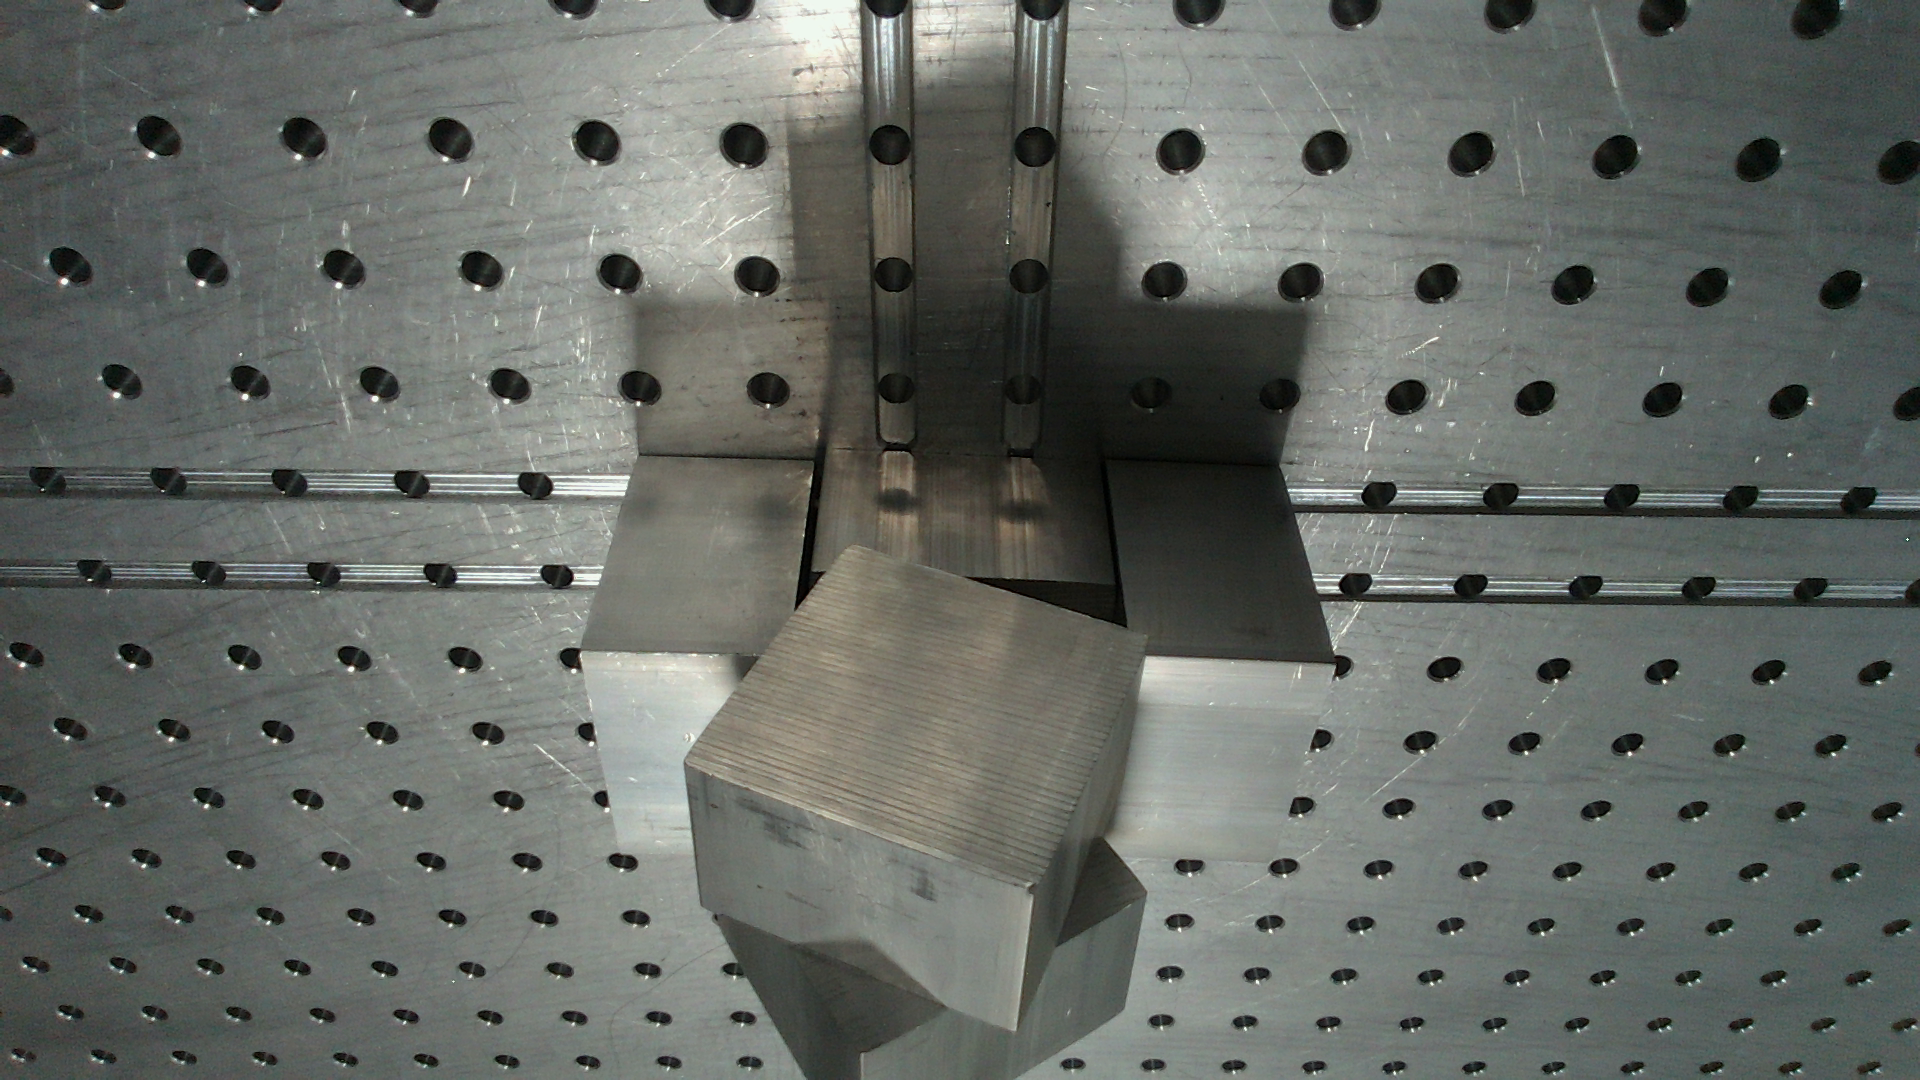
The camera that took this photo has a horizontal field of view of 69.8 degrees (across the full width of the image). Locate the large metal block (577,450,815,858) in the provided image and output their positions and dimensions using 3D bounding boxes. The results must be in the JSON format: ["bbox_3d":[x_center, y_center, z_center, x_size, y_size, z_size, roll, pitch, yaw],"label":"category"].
[{"bbox_3d":[-0.067,0.031,0.384,0.050,0.080,0.080,1,130,-1],"label":"large metal block"}]

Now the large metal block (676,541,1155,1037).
[{"bbox_3d":[-0.008,0.054,0.319,0.080,0.080,0.050,17,131,15],"label":"large metal block"}]

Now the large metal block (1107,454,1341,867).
[{"bbox_3d":[0.064,0.033,0.386,0.050,0.080,0.080,3,130,-2],"label":"large metal block"}]

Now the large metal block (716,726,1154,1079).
[{"bbox_3d":[-0.010,0.094,0.350,0.080,0.080,0.050,-21,135,-26],"label":"large metal block"}]

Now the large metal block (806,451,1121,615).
[{"bbox_3d":[-0.001,0.023,0.394,0.080,0.050,0.080,2,130,-2],"label":"large metal block"}]
